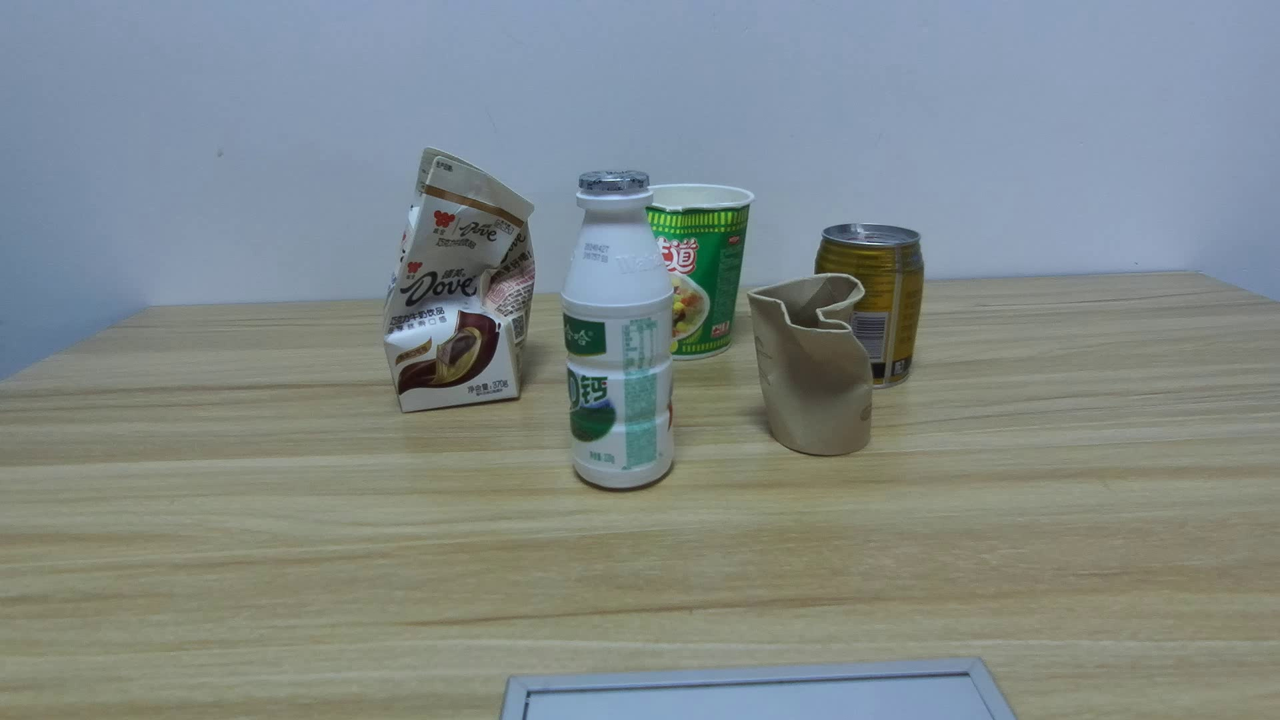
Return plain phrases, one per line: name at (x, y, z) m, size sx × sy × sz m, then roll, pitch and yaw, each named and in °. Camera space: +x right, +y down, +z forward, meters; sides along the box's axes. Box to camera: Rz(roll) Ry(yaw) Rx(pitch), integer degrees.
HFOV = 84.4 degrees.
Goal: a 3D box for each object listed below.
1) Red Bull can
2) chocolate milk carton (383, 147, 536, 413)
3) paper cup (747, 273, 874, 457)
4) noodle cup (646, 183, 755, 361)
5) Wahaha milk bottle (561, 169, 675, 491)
Red Bull can at (0.143, -0.036, 0.452) m, size 0.068 × 0.093 × 0.068 m, roll -1°, pitch 23°, yaw 1°
chocolate milk carton at (-0.107, -0.047, 0.435) m, size 0.089 × 0.155 × 0.076 m, roll 6°, pitch 23°, yaw -18°
paper cup at (0.097, 0.005, 0.367) m, size 0.067 × 0.083 × 0.058 m, roll -16°, pitch 30°, yaw -27°
noodle cup at (0.035, -0.062, 0.497) m, size 0.087 × 0.109 × 0.093 m, roll -18°, pitch 27°, yaw -35°
Wahaha milk bottle at (-0.010, -0.011, 0.335) m, size 0.053 × 0.147 × 0.053 m, roll -2°, pitch 18°, yaw 1°
